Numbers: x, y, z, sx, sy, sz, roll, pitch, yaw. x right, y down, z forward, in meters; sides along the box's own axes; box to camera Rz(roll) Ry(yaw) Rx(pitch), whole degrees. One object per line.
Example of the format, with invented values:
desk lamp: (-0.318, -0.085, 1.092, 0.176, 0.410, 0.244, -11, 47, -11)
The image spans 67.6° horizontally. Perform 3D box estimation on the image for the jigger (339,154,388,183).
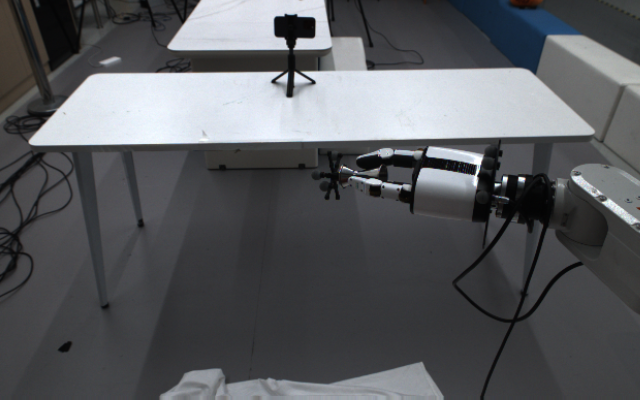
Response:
jigger: (0.075, -0.043, 0.764, 0.071, 0.043, 0.043, 2, 32, 26)
